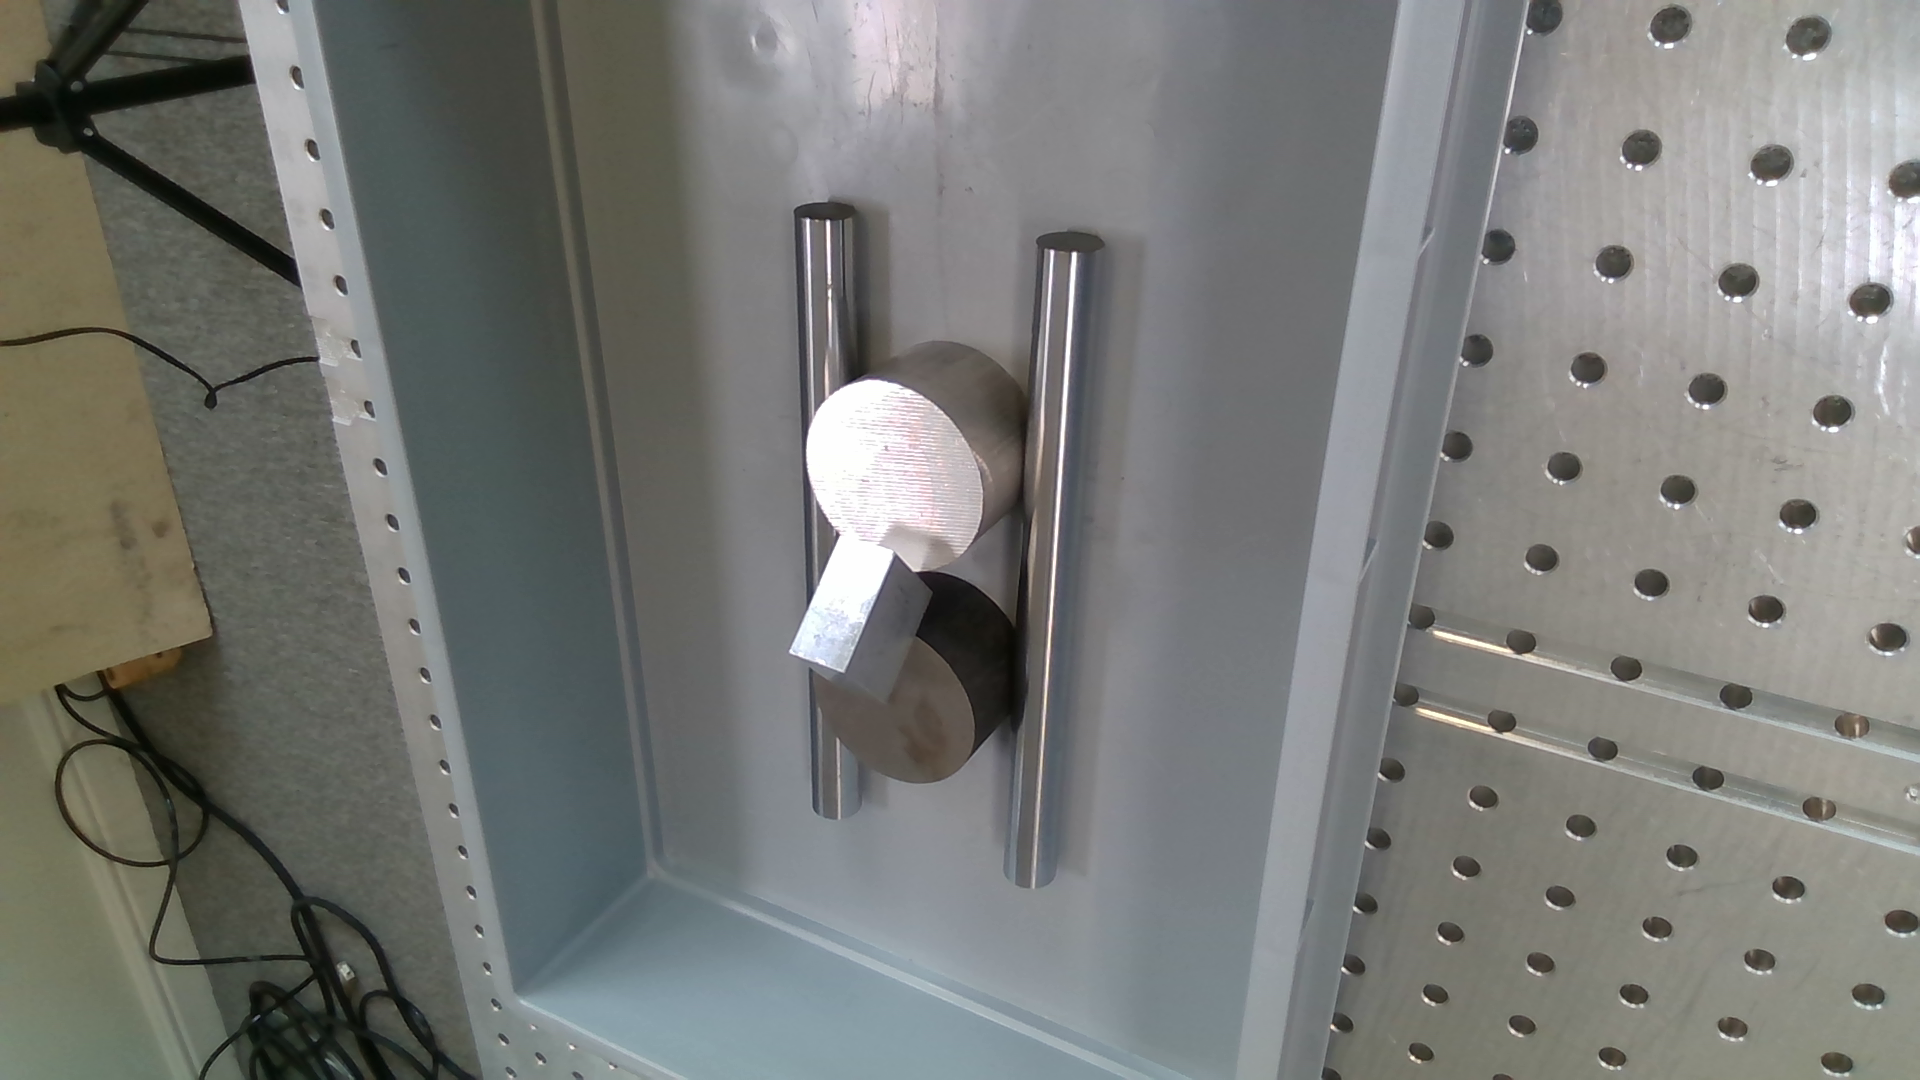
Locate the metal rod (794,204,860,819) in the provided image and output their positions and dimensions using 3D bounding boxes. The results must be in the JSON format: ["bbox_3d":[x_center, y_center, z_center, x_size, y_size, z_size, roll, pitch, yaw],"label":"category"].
[{"bbox_3d":[-0.057,0.001,0.615,0.025,0.025,0.301,16,123,24],"label":"metal rod"}]

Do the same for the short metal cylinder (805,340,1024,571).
[{"bbox_3d":[-0.015,-0.035,0.553,0.080,0.050,0.080,14,122,25],"label":"short metal cylinder"}]

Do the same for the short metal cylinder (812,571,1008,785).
[{"bbox_3d":[-0.018,0.060,0.607,0.080,0.050,0.080,14,122,25],"label":"short metal cylinder"}]

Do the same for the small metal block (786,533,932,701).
[{"bbox_3d":[-0.038,0.032,0.545,0.025,0.050,0.050,17,166,22],"label":"small metal block"}]

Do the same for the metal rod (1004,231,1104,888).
[{"bbox_3d":[0.036,0.023,0.570,0.025,0.025,0.301,16,123,24],"label":"metal rod"}]
